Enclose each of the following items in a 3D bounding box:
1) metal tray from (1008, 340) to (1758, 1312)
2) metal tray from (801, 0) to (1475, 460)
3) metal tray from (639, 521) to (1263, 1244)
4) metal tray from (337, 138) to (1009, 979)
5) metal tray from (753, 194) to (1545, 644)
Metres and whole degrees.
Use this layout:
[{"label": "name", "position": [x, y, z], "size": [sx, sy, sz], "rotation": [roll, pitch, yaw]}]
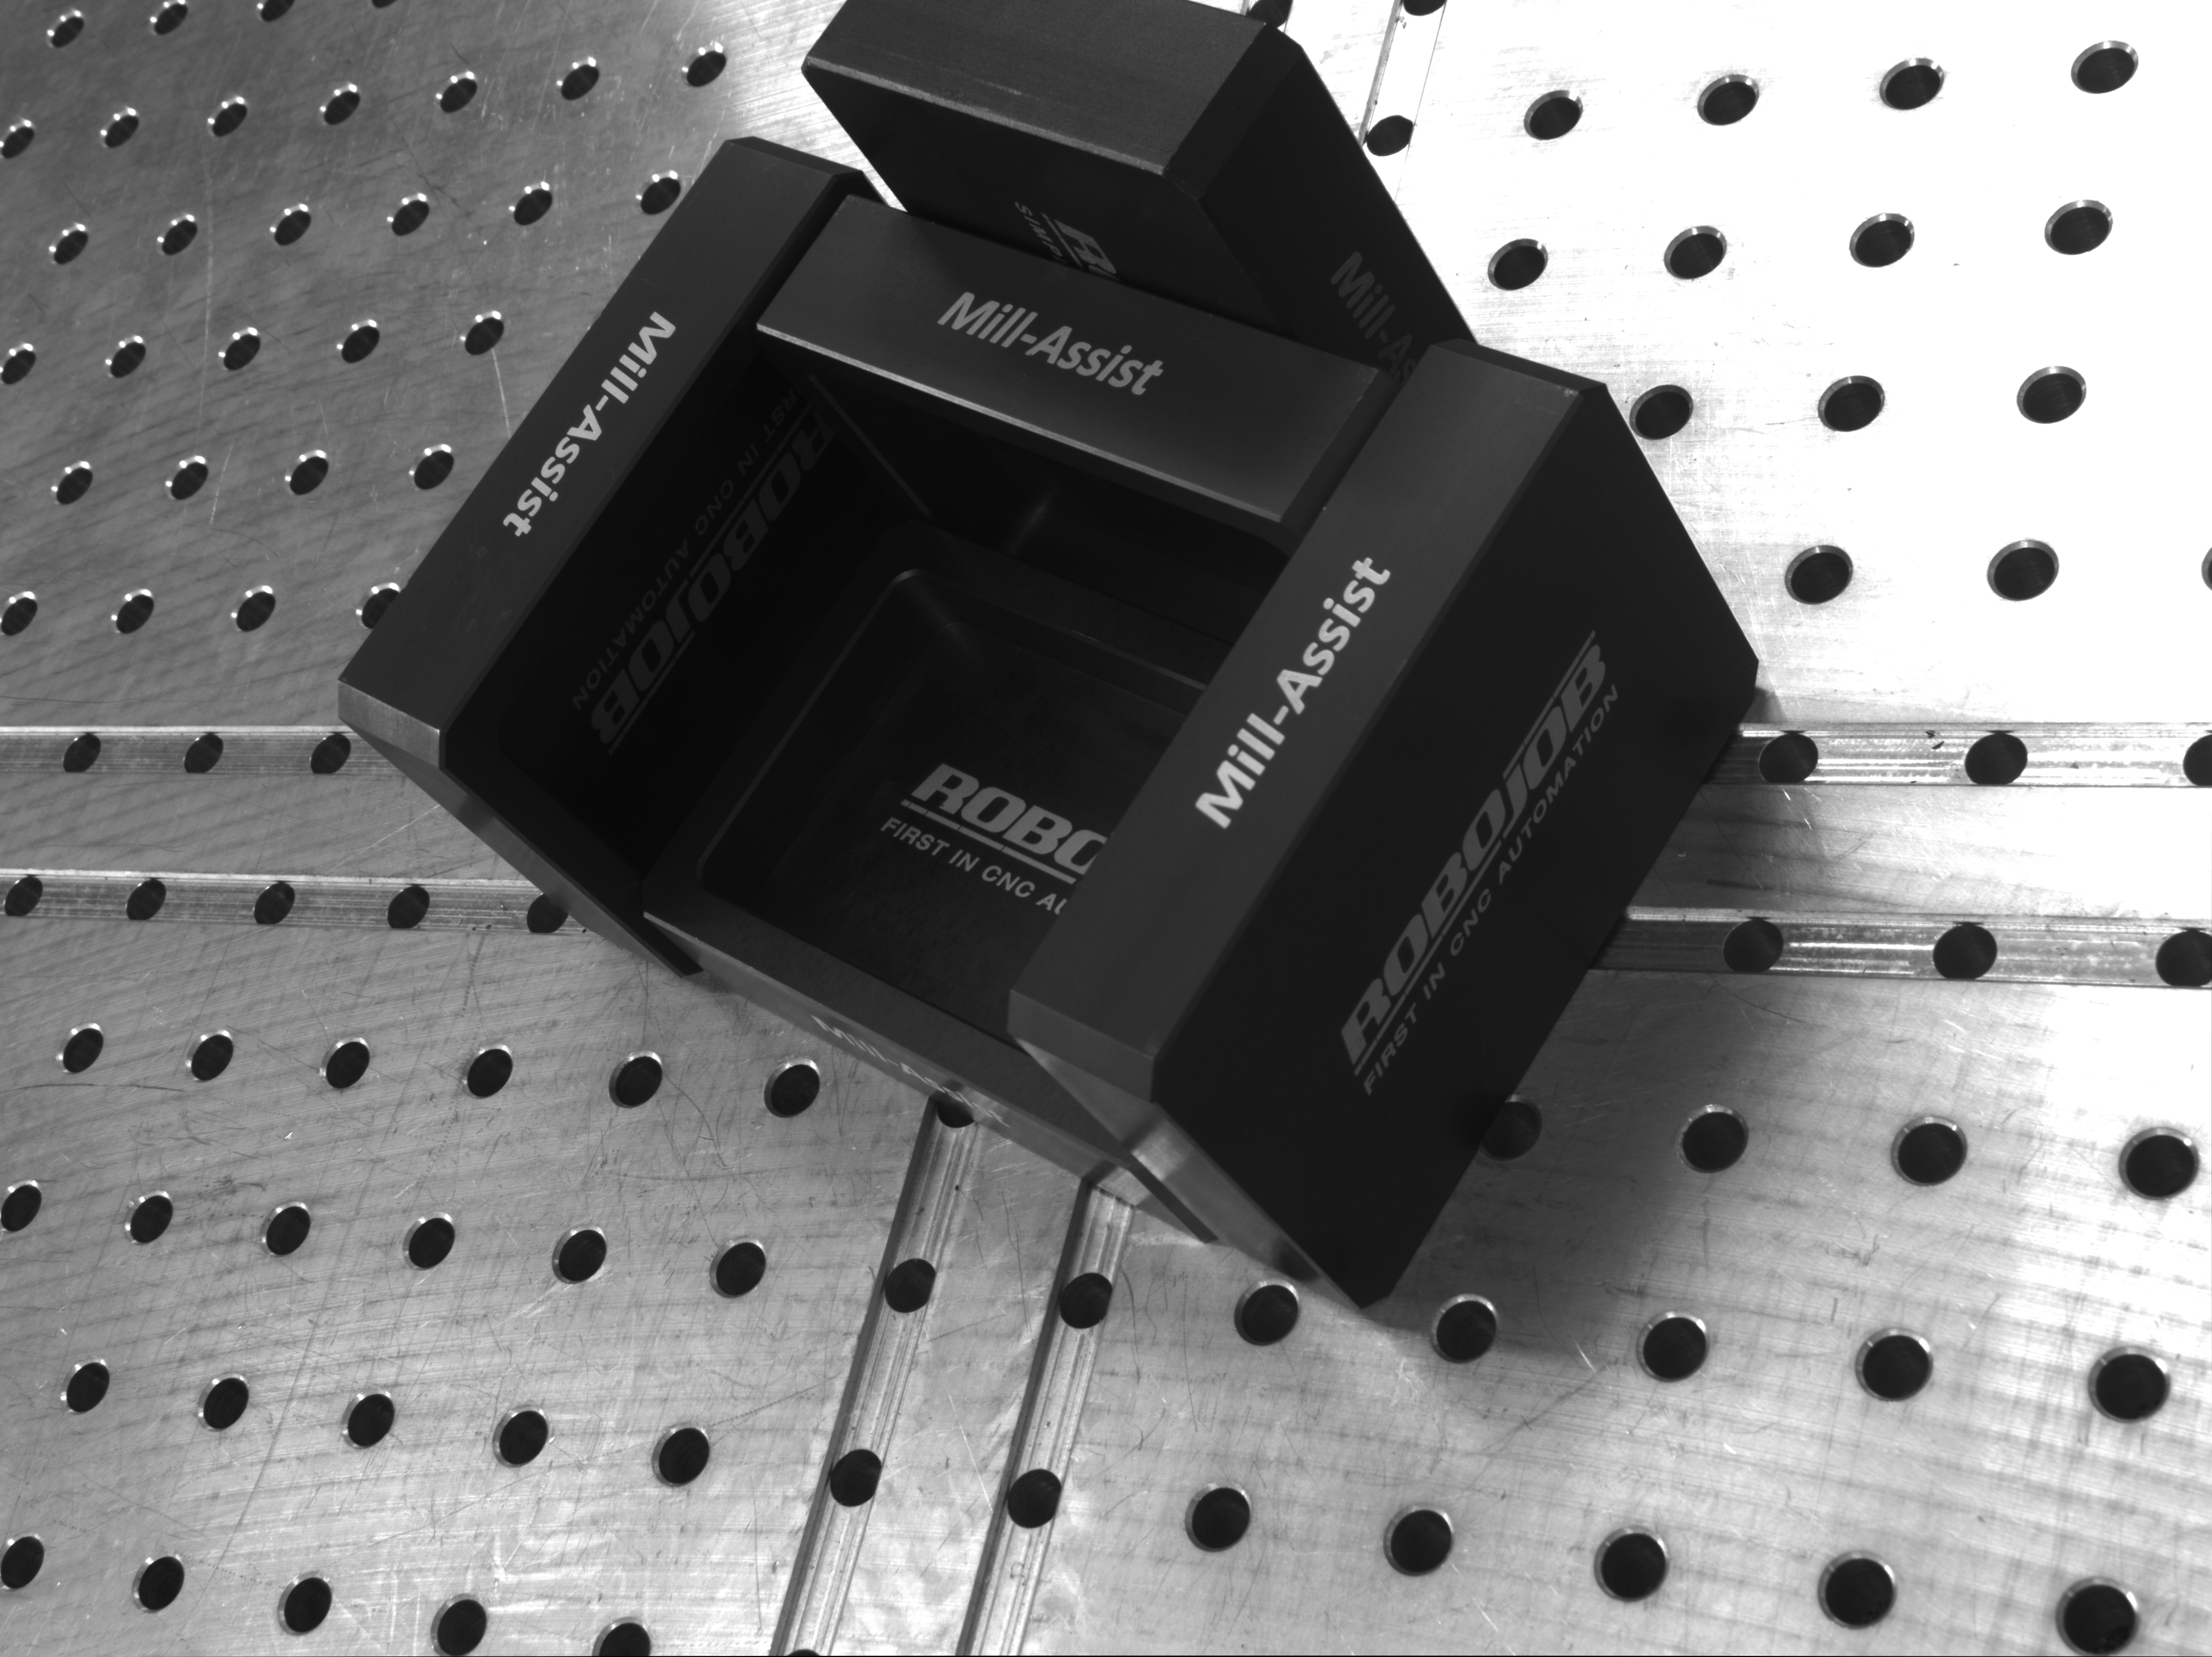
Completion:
[{"label": "metal tray", "position": [0.047, 0.001, 0.580], "size": [0.030, 0.090, 0.130], "rotation": [24, 75, 37]}, {"label": "metal tray", "position": [0.015, -0.094, 0.630], "size": [0.090, 0.130, 0.030], "rotation": [25, 76, 37]}, {"label": "metal tray", "position": [-0.010, 0.006, 0.646], "size": [0.130, 0.030, 0.090], "rotation": [24, 75, 37]}, {"label": "metal tray", "position": [-0.072, -0.049, 0.675], "size": [0.030, 0.090, 0.130], "rotation": [24, 74, 36]}, {"label": "metal tray", "position": [0.010, -0.058, 0.637], "size": [0.130, 0.090, 0.030], "rotation": [24, 75, 36]}]
